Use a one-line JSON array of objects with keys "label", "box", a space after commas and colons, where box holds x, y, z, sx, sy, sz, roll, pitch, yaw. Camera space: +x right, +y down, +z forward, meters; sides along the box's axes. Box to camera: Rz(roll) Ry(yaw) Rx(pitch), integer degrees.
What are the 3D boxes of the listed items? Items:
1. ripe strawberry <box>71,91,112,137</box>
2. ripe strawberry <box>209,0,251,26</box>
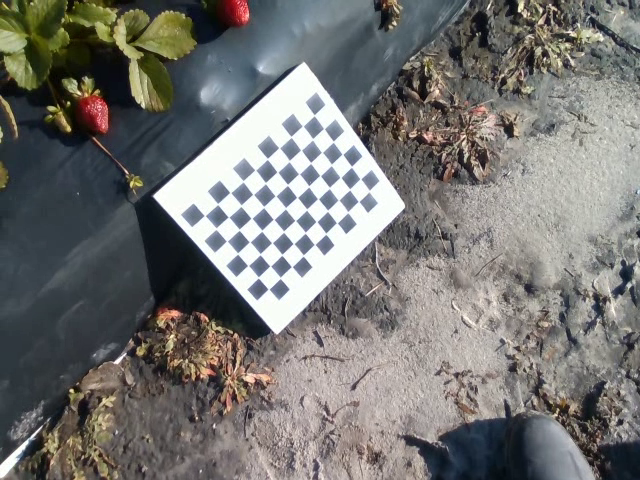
[{"label": "ripe strawberry", "box": [-0.250, -0.137, 0.774, 0.042, 0.053, 0.043, -34, -22, -22]}, {"label": "ripe strawberry", "box": [-0.095, -0.266, 0.821, 0.043, 0.050, 0.043, -10, -36, -28]}]
